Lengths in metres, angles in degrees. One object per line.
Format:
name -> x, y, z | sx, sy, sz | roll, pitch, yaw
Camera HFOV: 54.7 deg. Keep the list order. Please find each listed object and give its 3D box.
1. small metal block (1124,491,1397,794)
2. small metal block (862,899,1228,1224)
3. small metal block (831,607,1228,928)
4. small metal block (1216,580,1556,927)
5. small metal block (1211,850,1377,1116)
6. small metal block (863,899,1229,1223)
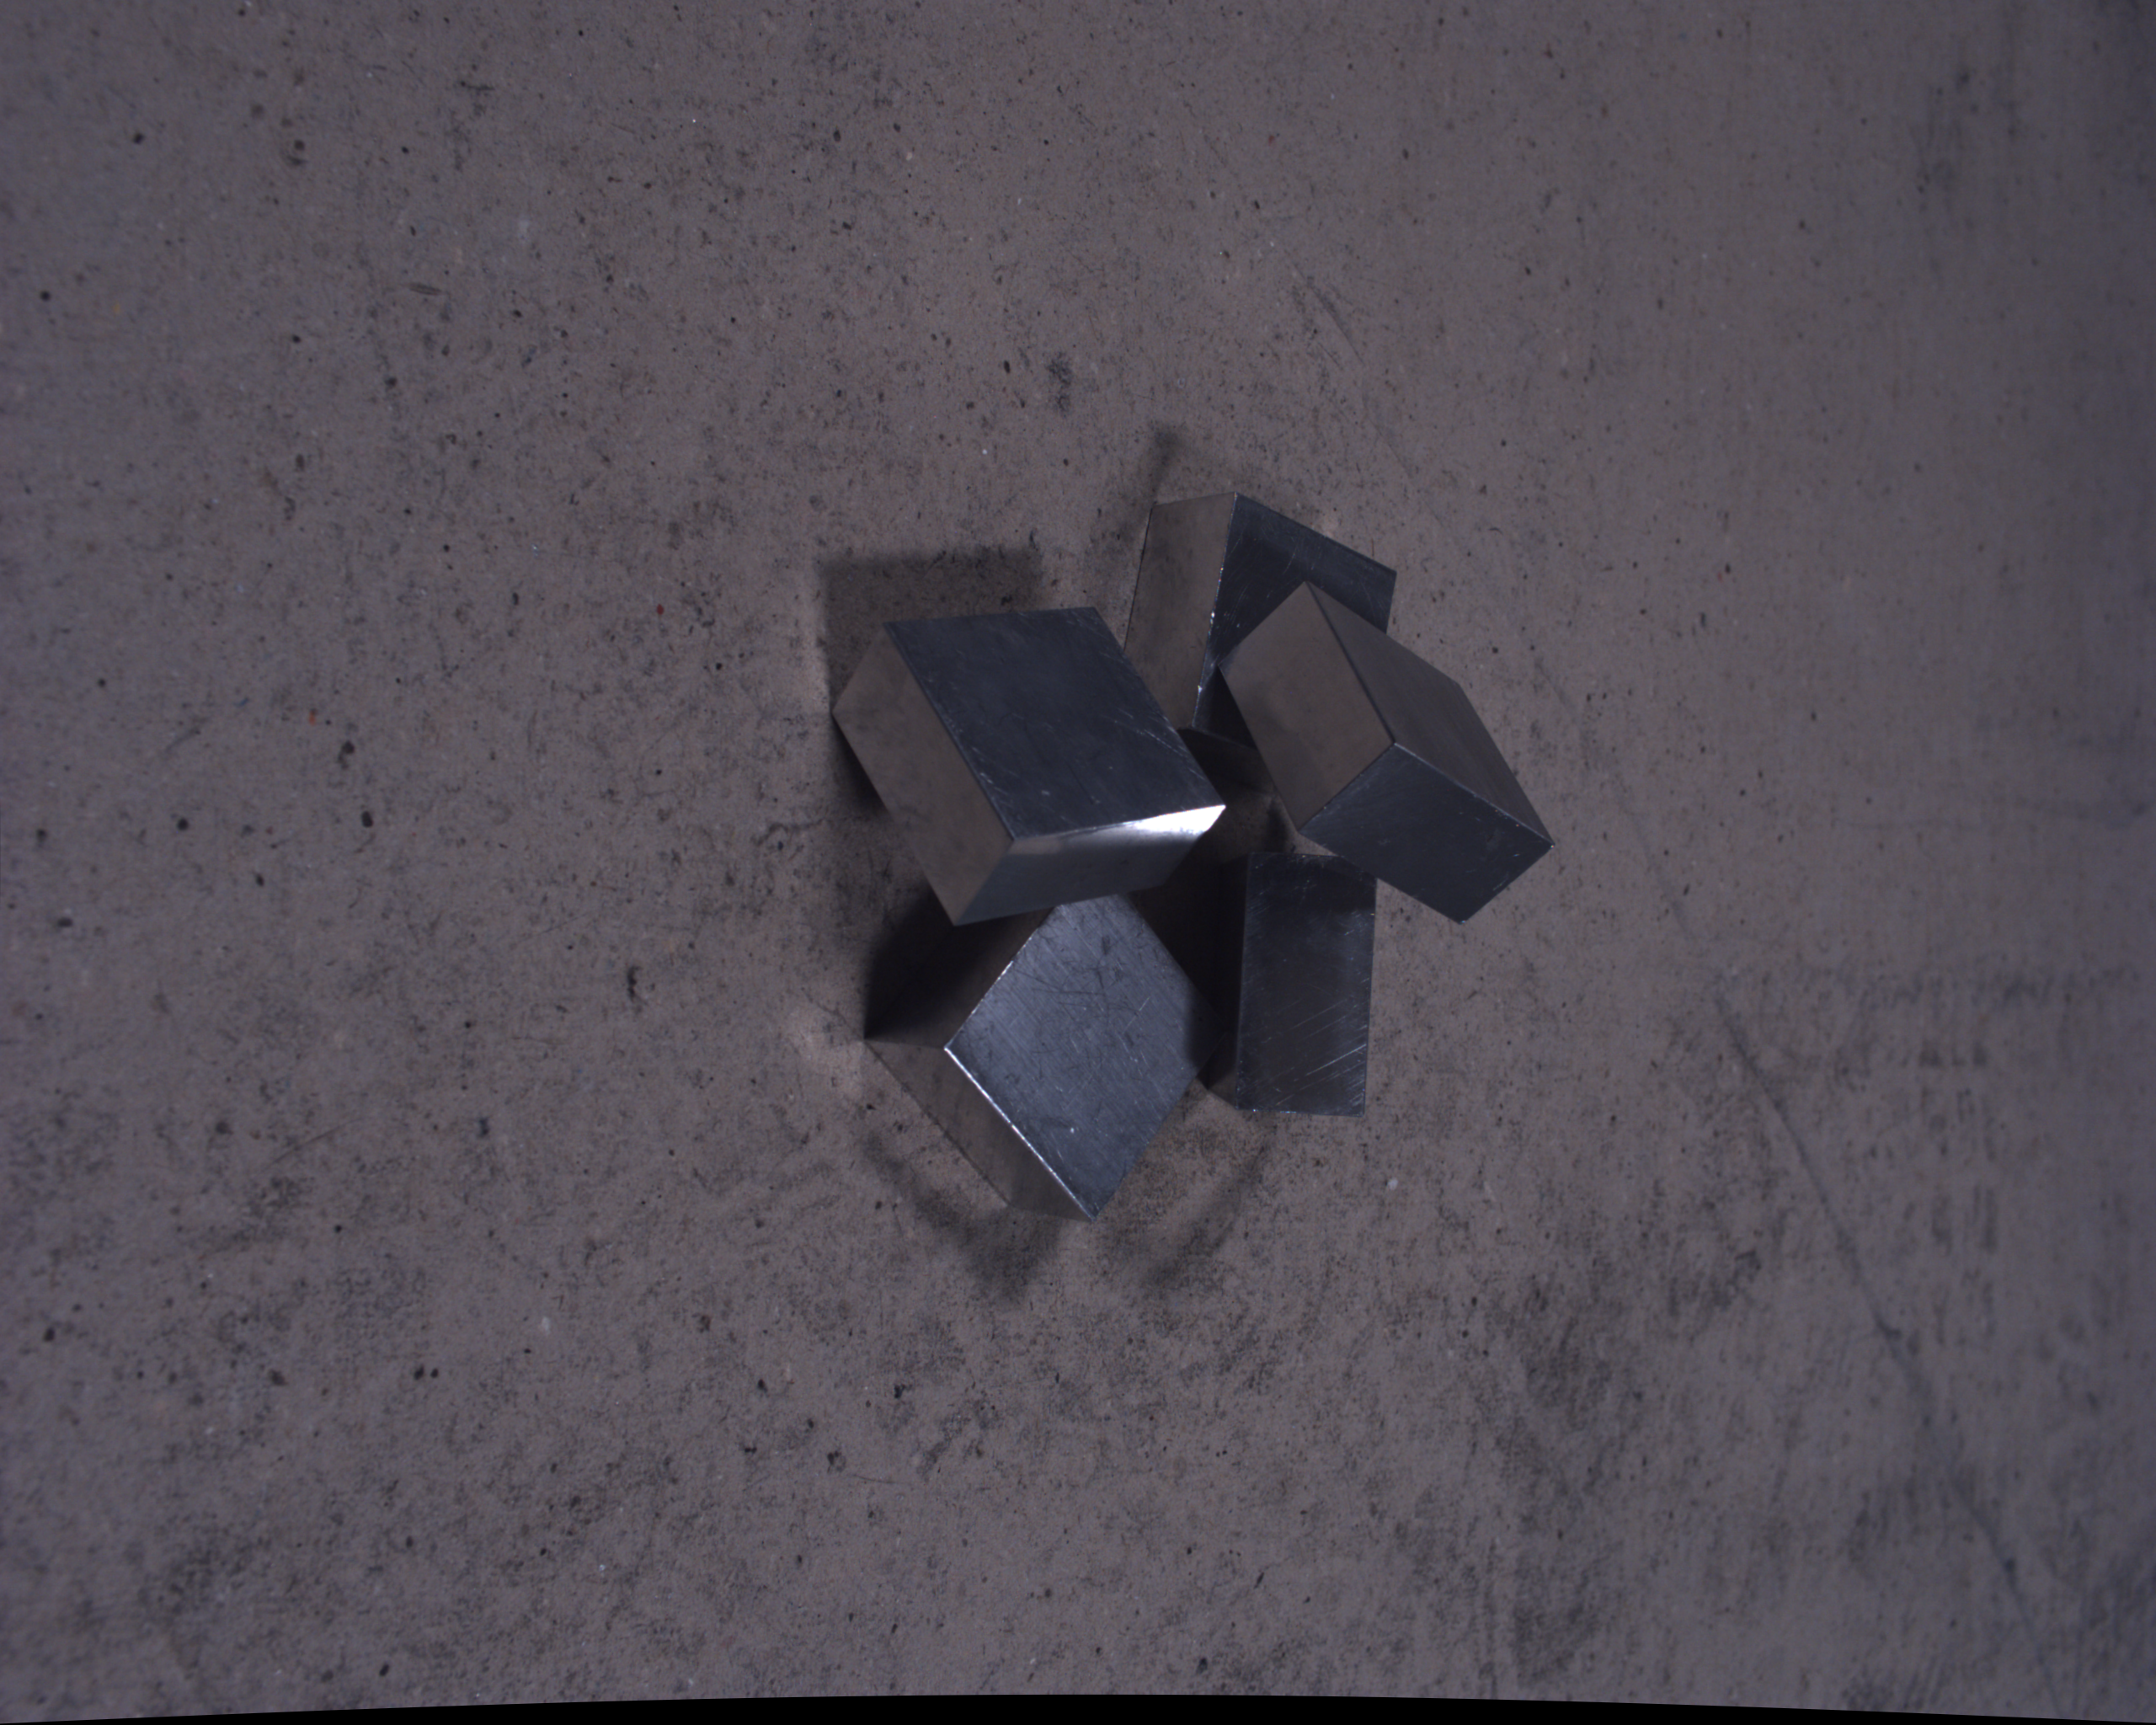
small metal block -> 0.037, -0.045, 0.440 | 0.050, 0.025, 0.050 | 18, 79, -39
small metal block -> -0.005, 0.033, 0.404 | 0.050, 0.025, 0.050 | -53, 121, -27
small metal block -> -0.009, -0.019, 0.384 | 0.050, 0.025, 0.050 | -10, 59, -40
small metal block -> 0.060, -0.021, 0.408 | 0.050, 0.025, 0.050 | 27, 30, -37
small metal block -> 0.043, 0.024, 0.426 | 0.025, 0.050, 0.050 | 4, 87, -2
small metal block -> -0.005, 0.033, 0.404 | 0.050, 0.025, 0.050 | -53, 121, -27
